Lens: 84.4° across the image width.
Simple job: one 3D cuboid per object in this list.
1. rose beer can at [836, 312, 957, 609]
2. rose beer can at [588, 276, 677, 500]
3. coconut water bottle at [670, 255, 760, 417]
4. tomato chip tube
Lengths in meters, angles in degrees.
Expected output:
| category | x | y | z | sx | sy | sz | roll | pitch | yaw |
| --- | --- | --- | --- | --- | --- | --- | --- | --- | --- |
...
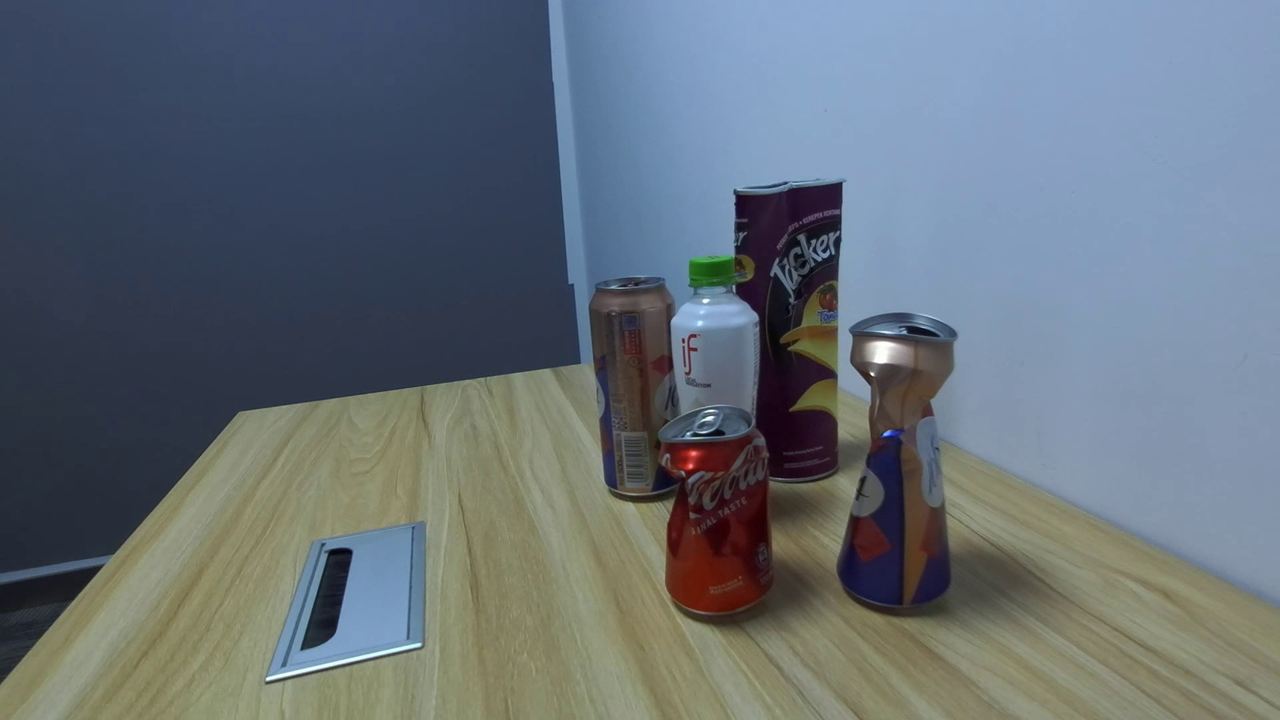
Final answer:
| category | x | y | z | sx | sy | sz | roll | pitch | yaw |
| --- | --- | --- | --- | --- | --- | --- | --- | --- | --- |
| rose beer can | 0.145 | 0.058 | 0.401 | 0.068 | 0.162 | 0.073 | -7 | 18 | -11 |
| rose beer can | -0.001 | 0.023 | 0.561 | 0.068 | 0.169 | 0.068 | -5 | 14 | 1 |
| coconut water bottle | 0.055 | 0.022 | 0.497 | 0.063 | 0.188 | 0.063 | -4 | 13 | 1 |
| tomato chip tube | 0.120 | -0.022 | 0.565 | 0.090 | 0.236 | 0.078 | 1 | 17 | 8 |
